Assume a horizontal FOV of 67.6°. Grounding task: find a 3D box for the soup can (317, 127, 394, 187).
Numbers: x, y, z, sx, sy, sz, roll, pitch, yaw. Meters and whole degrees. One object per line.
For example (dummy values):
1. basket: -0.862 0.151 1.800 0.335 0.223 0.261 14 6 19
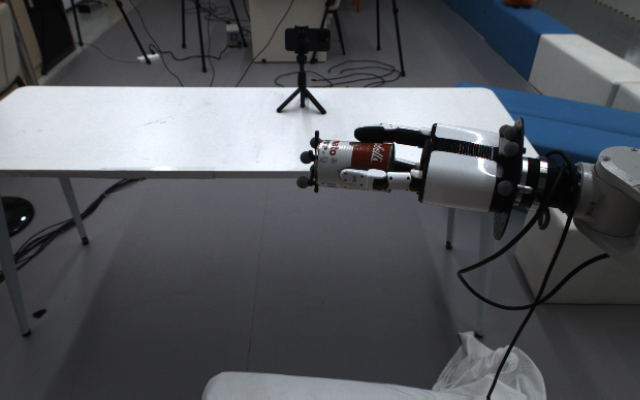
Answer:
1. soup can: 0.051 -0.048 0.670 0.101 0.067 0.067 5 35 13
